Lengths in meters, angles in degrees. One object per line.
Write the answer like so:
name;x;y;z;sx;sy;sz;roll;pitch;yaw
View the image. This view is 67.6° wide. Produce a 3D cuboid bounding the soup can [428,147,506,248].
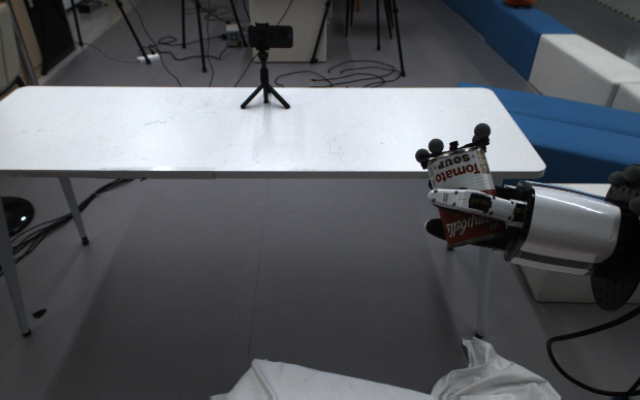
soup can;0.170;-0.005;0.556;0.067;0.067;0.101;-11;80;-19
